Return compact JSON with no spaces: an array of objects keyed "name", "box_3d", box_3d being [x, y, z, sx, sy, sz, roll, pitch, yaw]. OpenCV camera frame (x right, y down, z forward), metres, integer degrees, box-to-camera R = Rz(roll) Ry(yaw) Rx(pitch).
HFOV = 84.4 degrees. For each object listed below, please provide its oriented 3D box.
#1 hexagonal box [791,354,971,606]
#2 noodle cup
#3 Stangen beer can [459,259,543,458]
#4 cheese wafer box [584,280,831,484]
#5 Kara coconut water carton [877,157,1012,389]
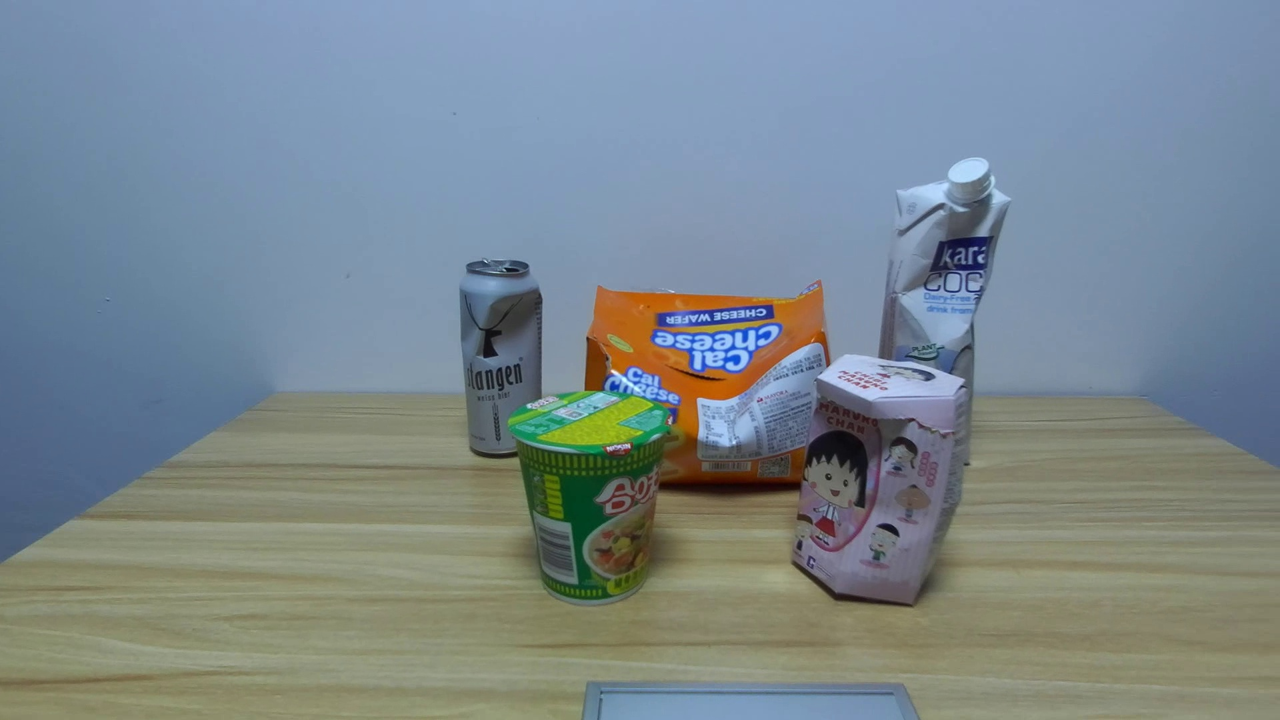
[{"name":"hexagonal box","box_3d":[0.149,0.072,0.444,0.090,0.134,0.091,7,17,12]},{"name":"noodle cup","box_3d":[-0.030,0.086,0.438,0.097,0.110,0.097,1,16,0]},{"name":"Stangen beer can","box_3d":[-0.122,-0.003,0.630,0.070,0.173,0.069,2,19,2]},{"name":"cheese wafer box","box_3d":[0.062,0.017,0.607,0.219,0.145,0.191,1,16,2]},{"name":"Kara coconut water carton","box_3d":[0.247,-0.038,0.595,0.083,0.255,0.078,1,19,2]}]
